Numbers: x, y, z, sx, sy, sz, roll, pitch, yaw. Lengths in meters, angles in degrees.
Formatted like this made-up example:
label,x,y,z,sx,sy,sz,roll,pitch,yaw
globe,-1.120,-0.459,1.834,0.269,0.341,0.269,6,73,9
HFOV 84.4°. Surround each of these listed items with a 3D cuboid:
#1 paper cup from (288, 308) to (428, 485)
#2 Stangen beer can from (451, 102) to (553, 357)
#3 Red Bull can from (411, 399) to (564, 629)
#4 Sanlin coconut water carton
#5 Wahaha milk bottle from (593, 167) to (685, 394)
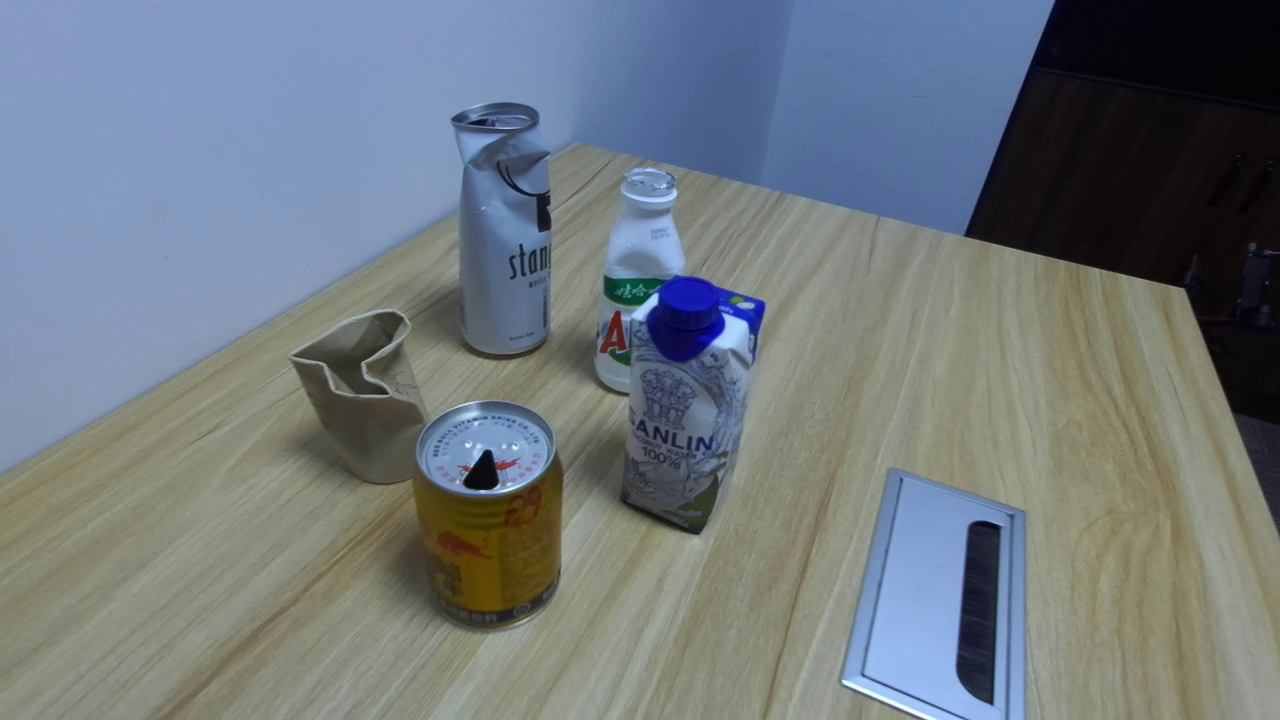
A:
label,x,y,z,sx,sy,sz,roll,pitch,yaw
paper cup,-0.142,0.024,0.397,0.058,0.083,0.066,25,43,18
Stangen beer can,-0.094,-0.084,0.481,0.066,0.166,0.065,-17,42,-26
Red Bull can,-0.069,0.074,0.336,0.067,0.093,0.067,4,36,-3
Sanlin coconut water carton,0.026,0.019,0.372,0.060,0.144,0.061,19,38,20
Wahaha milk bottle,0.002,-0.049,0.457,0.055,0.149,0.055,3,38,-2
